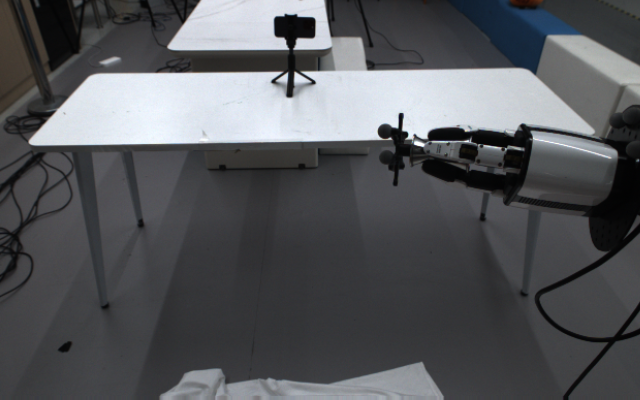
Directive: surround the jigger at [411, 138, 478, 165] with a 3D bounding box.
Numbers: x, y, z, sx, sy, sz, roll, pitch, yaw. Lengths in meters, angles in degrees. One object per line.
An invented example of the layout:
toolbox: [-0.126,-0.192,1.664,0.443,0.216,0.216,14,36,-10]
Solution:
jigger: [0.152,-0.061,0.580,0.071,0.043,0.043,5,34,19]
